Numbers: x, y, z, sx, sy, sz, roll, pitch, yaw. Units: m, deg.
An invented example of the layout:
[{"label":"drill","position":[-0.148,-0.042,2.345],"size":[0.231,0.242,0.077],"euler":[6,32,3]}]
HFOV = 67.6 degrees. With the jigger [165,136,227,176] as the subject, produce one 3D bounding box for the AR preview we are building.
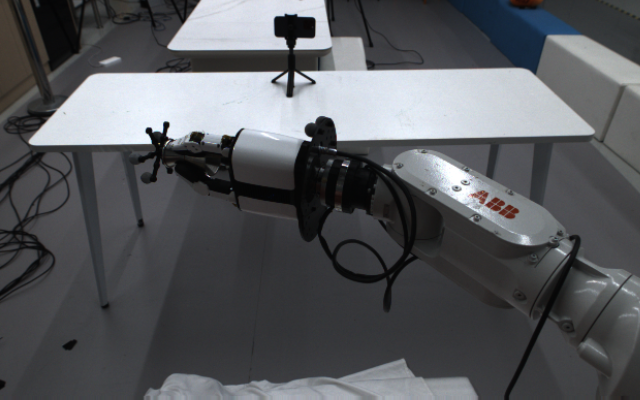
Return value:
[{"label":"jigger","position":[-0.172,-0.063,0.667],"size":[0.071,0.043,0.043],"euler":[10,35,16]}]
